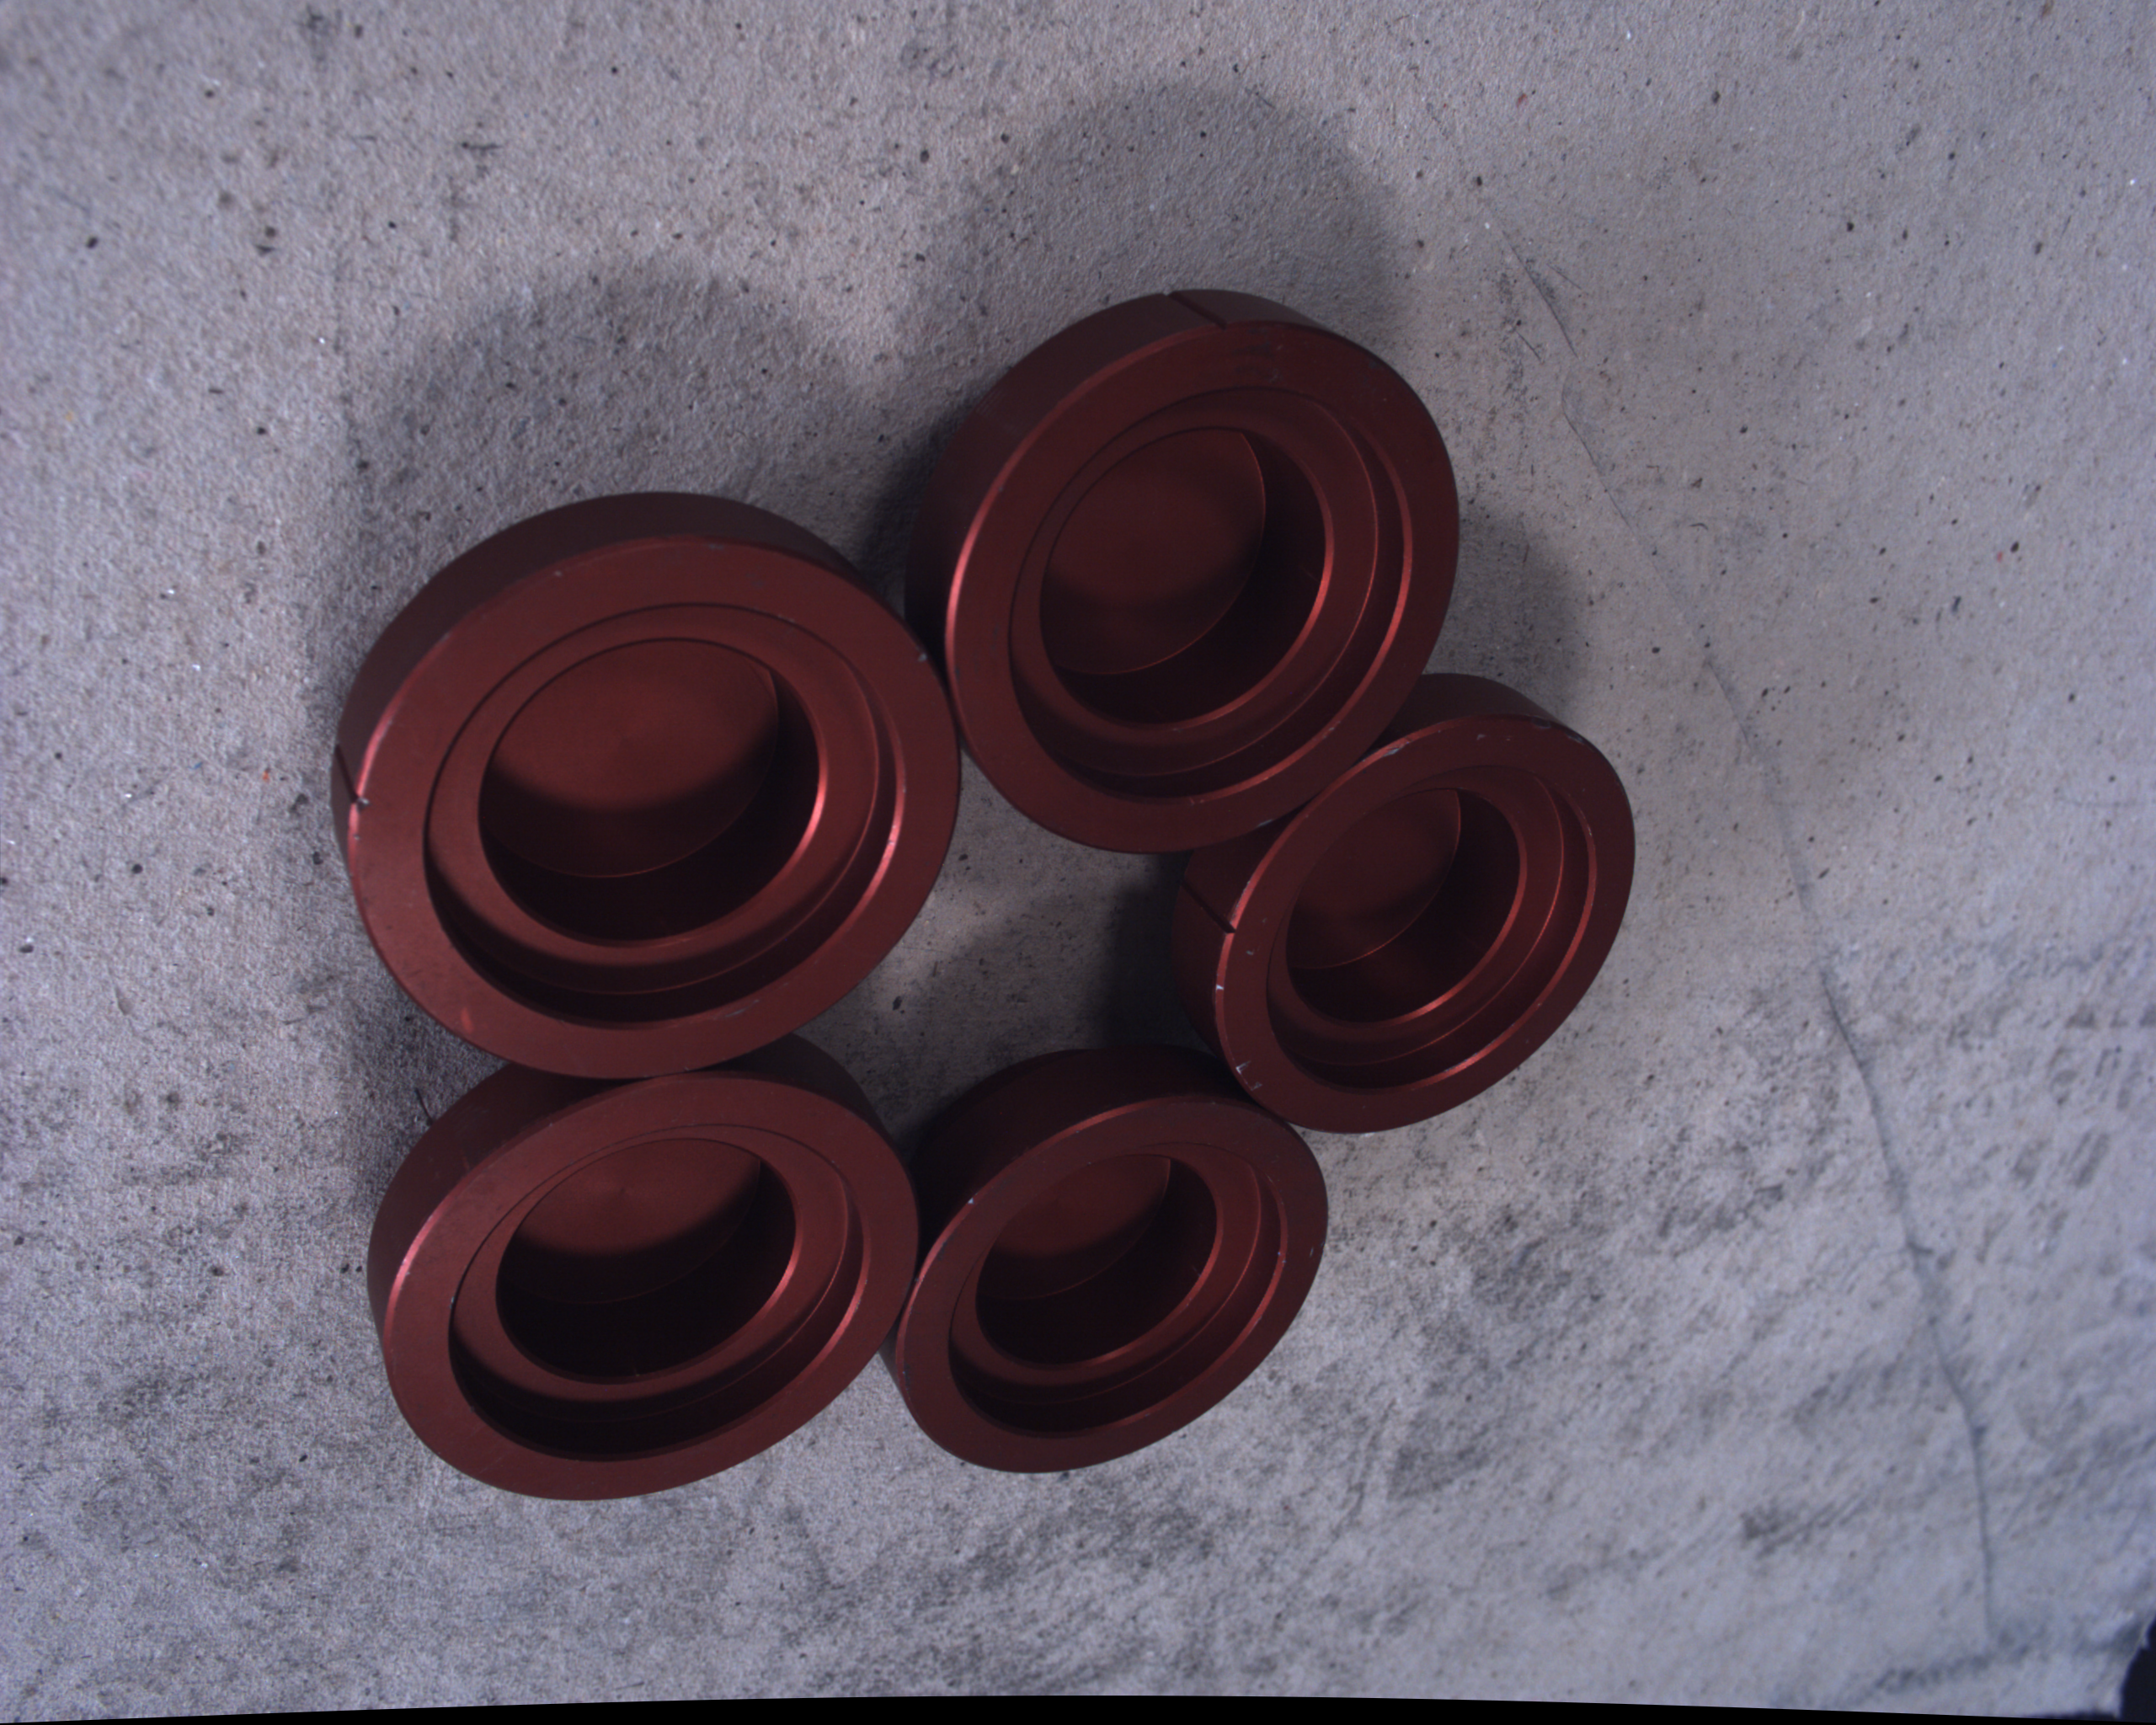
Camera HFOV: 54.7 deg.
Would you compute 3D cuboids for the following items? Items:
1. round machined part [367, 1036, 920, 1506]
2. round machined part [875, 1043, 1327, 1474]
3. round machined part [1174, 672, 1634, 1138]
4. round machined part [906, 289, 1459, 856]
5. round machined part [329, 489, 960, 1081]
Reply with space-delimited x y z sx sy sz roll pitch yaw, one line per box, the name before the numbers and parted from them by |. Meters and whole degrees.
round machined part | -0.083 0.070 0.394 0.099 0.042 0.097 -14 123 -22
round machined part | 0.000 0.079 0.447 0.099 0.042 0.097 -14 124 -22
round machined part | 0.063 0.005 0.433 0.099 0.042 0.097 -14 123 -22
round machined part | 0.015 -0.053 0.371 0.099 0.042 0.097 -14 123 -22
round machined part | -0.073 -0.016 0.347 0.099 0.042 0.097 -14 123 -22
